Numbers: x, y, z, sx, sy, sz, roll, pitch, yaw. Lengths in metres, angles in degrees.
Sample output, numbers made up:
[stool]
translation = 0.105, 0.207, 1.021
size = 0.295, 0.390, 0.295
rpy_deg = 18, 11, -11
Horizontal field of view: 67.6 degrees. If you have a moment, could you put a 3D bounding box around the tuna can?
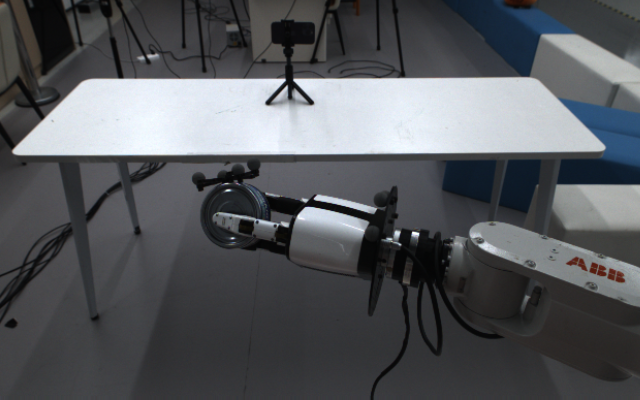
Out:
[tuna can]
translation = -0.105, 0.026, 0.617
size = 0.085, 0.085, 0.034
rpy_deg = 12, 3, 14
